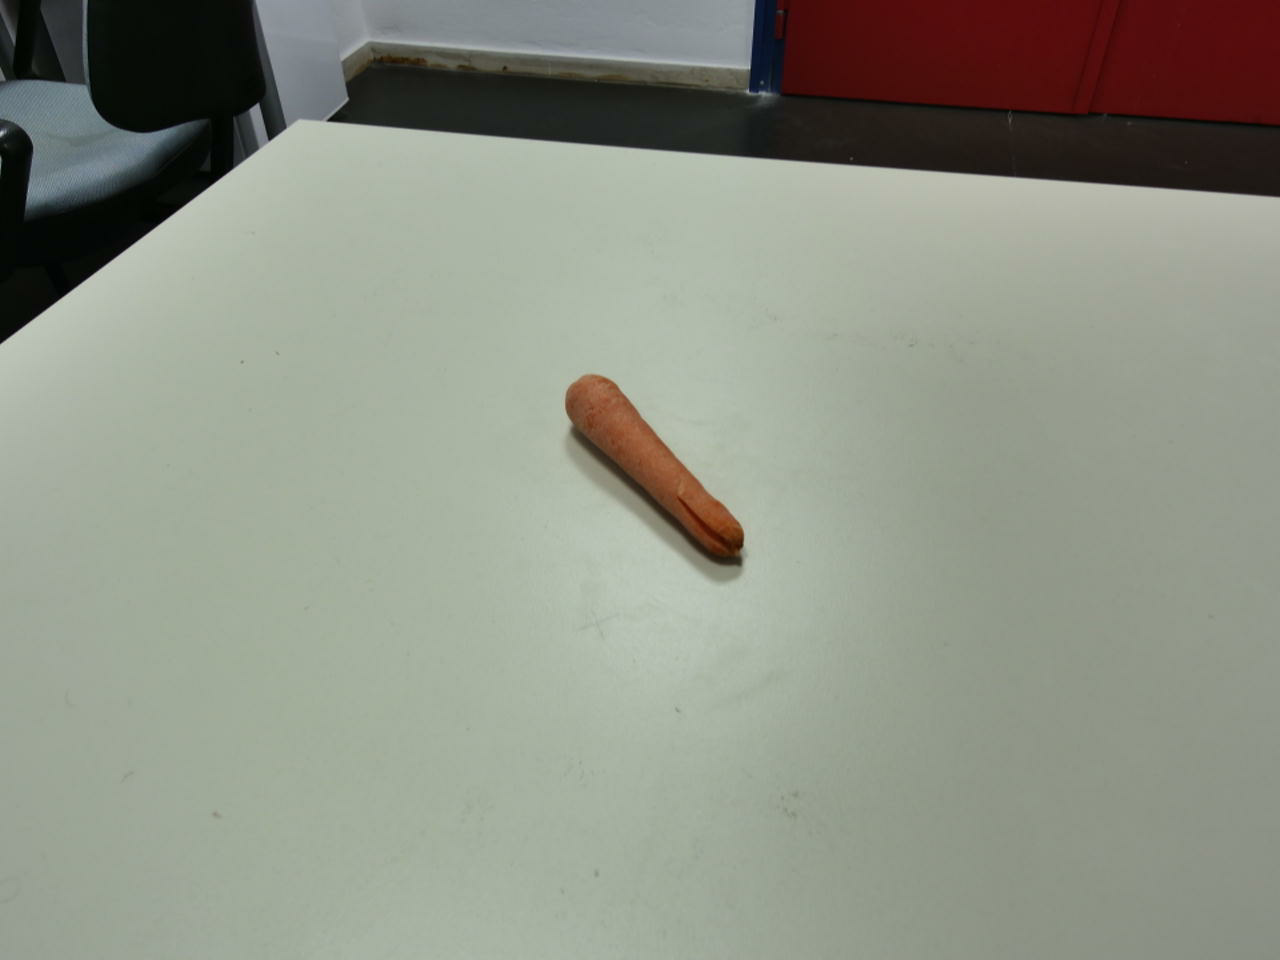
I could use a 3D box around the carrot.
[{"bbox_3d":[0.004,-0.010,0.466,0.030,0.032,0.136,-21,42,-24],"label":"carrot"}]
